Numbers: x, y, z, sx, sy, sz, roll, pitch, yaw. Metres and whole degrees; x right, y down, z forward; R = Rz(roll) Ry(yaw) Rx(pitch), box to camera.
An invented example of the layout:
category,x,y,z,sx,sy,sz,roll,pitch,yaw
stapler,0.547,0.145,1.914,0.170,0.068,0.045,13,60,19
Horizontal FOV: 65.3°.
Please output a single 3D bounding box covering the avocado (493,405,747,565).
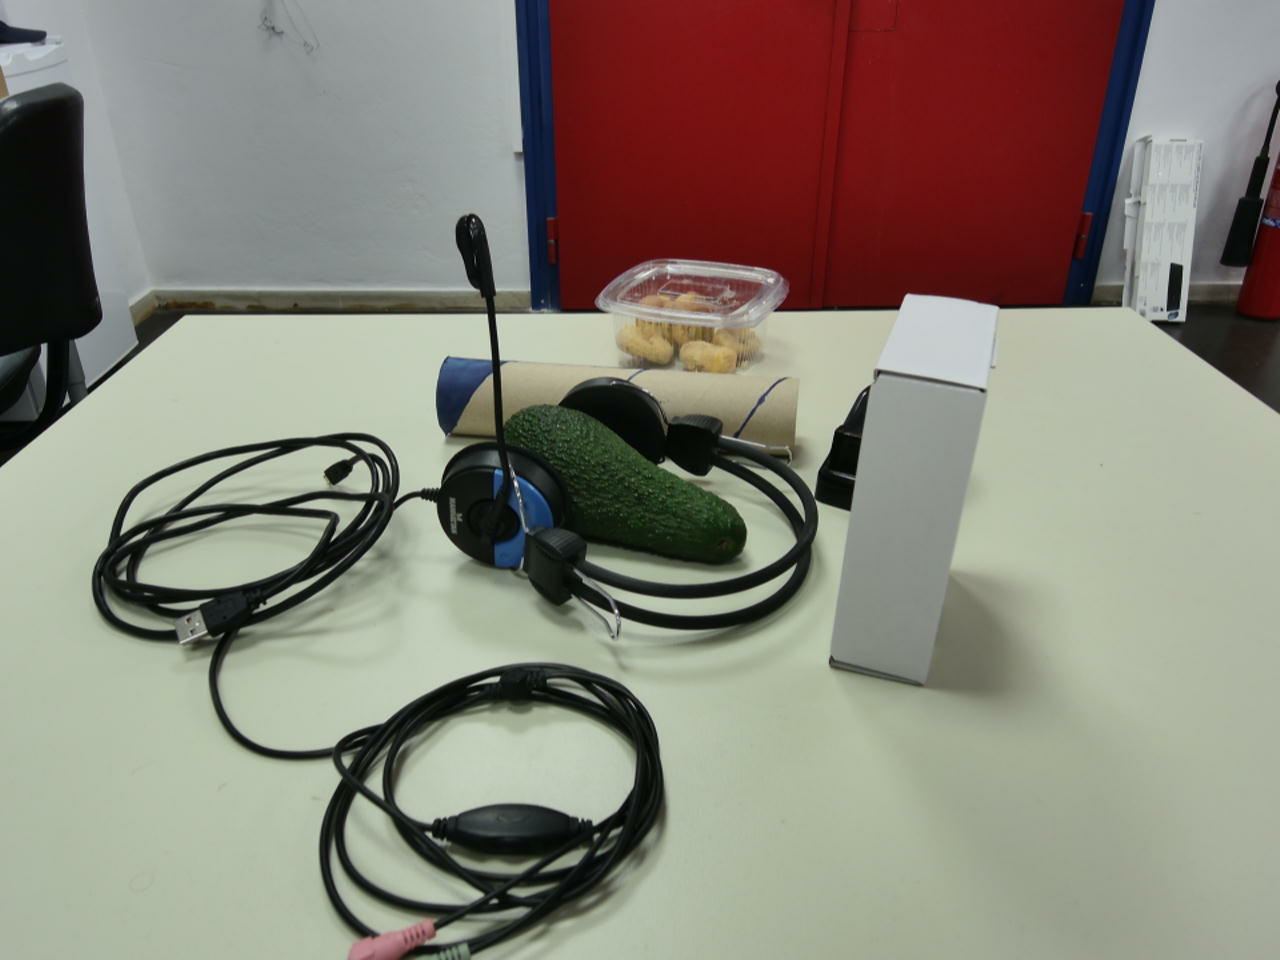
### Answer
category,x,y,z,sx,sy,sz,roll,pitch,yaw
avocado,-0.009,-0.001,0.512,0.141,0.067,0.063,7,26,14
